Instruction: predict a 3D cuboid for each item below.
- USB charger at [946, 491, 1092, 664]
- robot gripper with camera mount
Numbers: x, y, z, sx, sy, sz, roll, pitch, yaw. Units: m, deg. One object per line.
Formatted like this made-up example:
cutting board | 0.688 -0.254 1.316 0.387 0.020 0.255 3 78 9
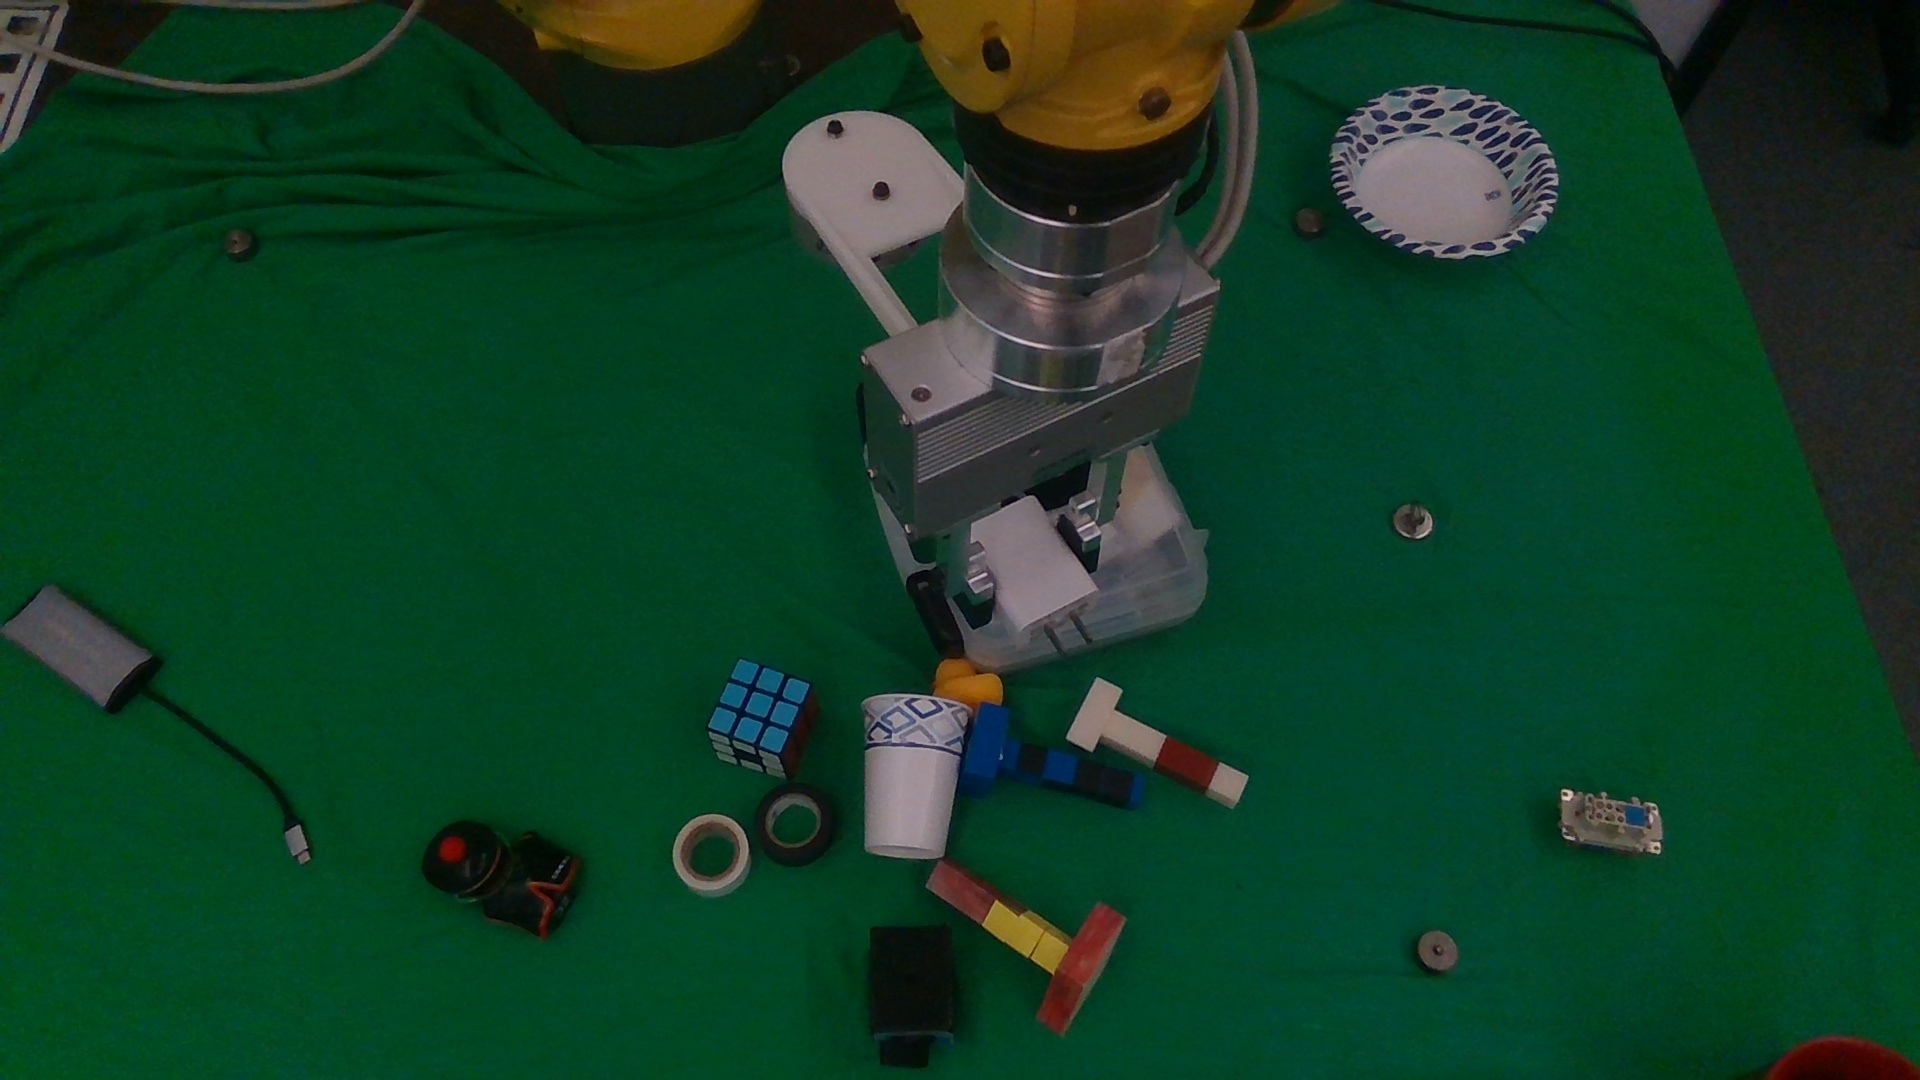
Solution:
USB charger | 0.028 0.018 0.591 0.044 0.029 0.076 -23 59 -7
robot gripper with camera mount | -0.016 -0.083 0.565 0.119 0.158 0.194 -26 64 -17
